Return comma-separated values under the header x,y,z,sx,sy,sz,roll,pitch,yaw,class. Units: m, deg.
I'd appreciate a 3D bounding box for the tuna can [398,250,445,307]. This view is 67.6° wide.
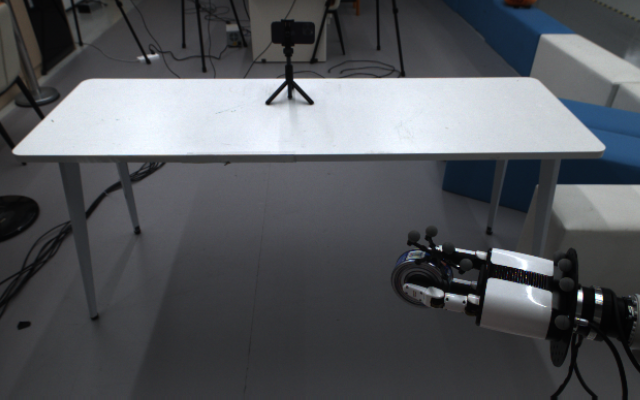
x,y,z,sx,sy,sz,roll,pitch,yaw,class
0.150,0.113,0.704,0.085,0.085,0.034,15,31,18,tuna can
